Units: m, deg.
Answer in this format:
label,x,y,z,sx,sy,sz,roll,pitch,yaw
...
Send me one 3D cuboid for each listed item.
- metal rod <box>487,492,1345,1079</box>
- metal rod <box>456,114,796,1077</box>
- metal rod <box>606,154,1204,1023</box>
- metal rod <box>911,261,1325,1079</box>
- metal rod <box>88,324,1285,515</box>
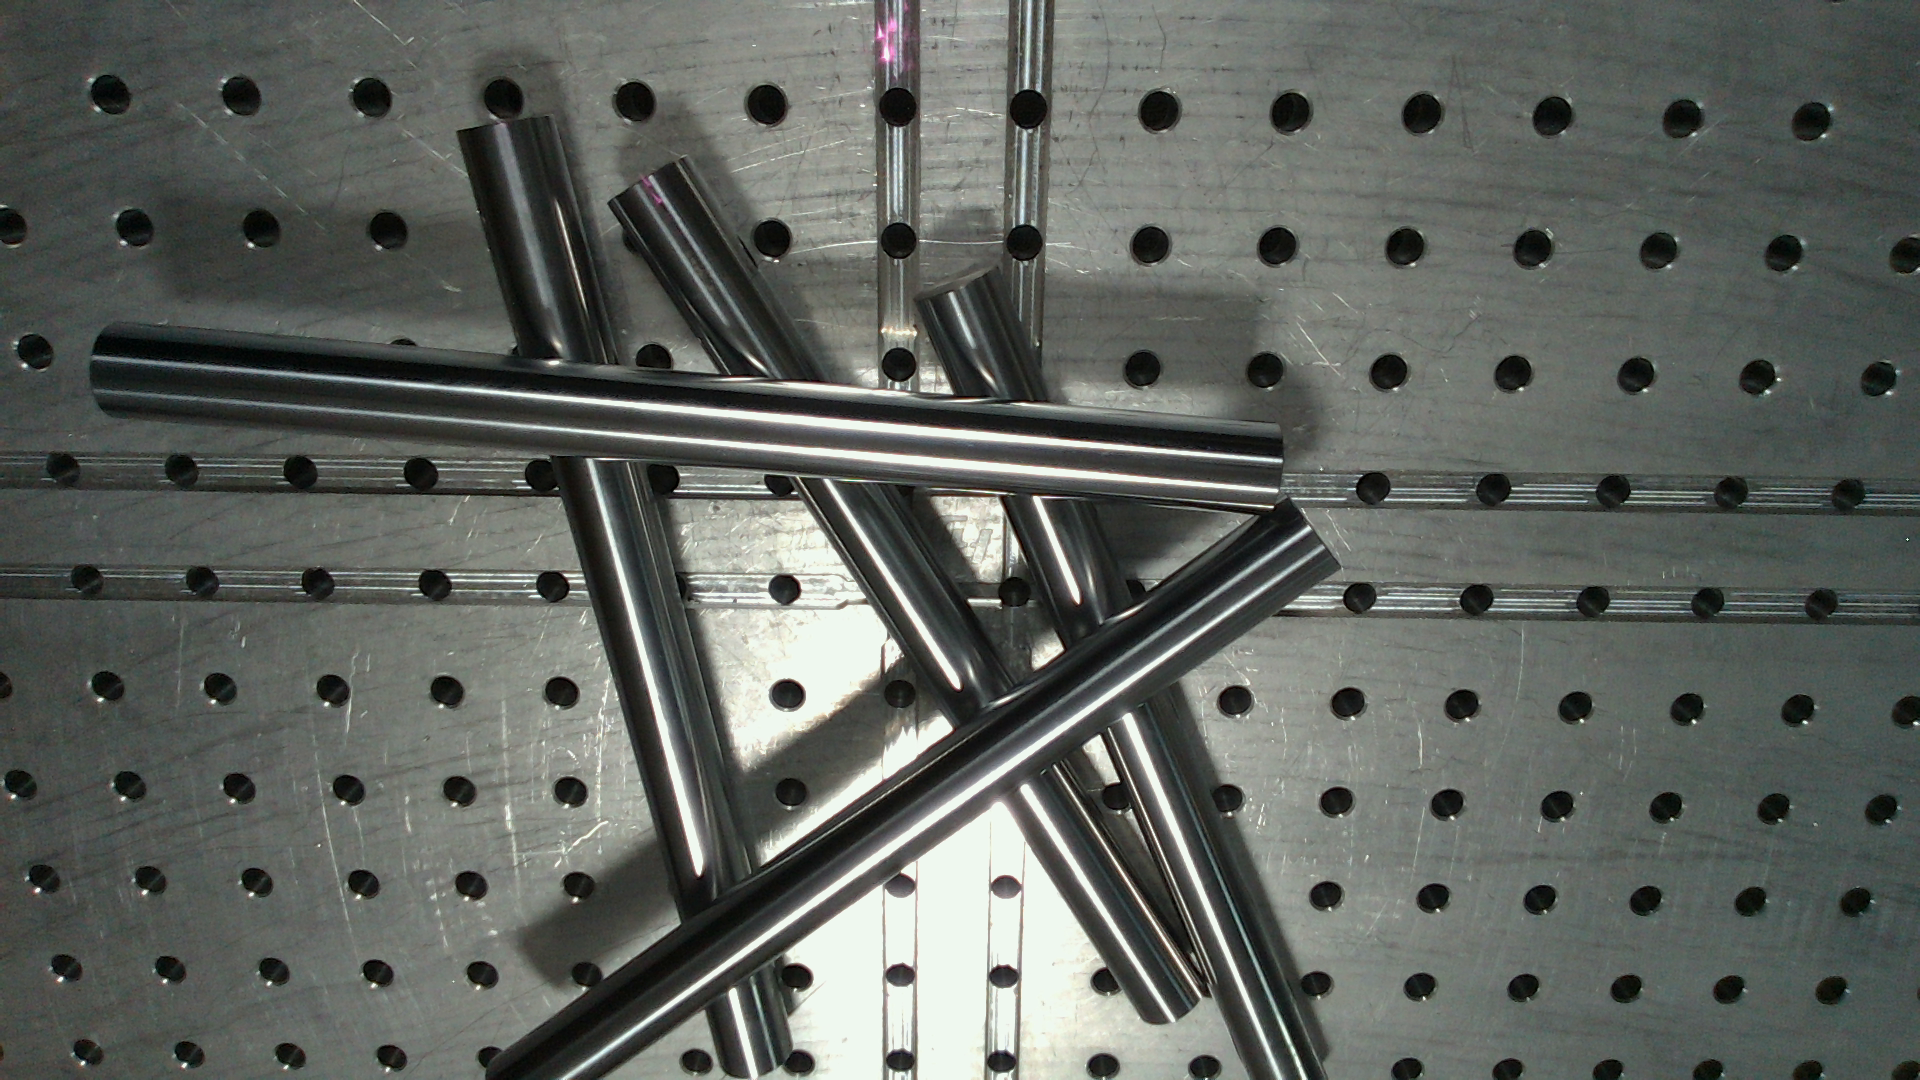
label,x,y,z,sx,sy,sz,roll,pitch,yaw
metal rod,-0.022,0.085,0.401,0.300,0.025,0.025,-37,106,12
metal rod,-0.092,0.031,0.407,0.025,0.025,0.300,-9,110,3
metal rod,-0.007,0.027,0.406,0.025,0.025,0.300,-29,108,10
metal rod,0.056,0.060,0.419,0.025,0.025,0.300,-21,109,8
metal rod,-0.067,-0.031,0.358,0.300,0.025,0.025,5,110,-2
